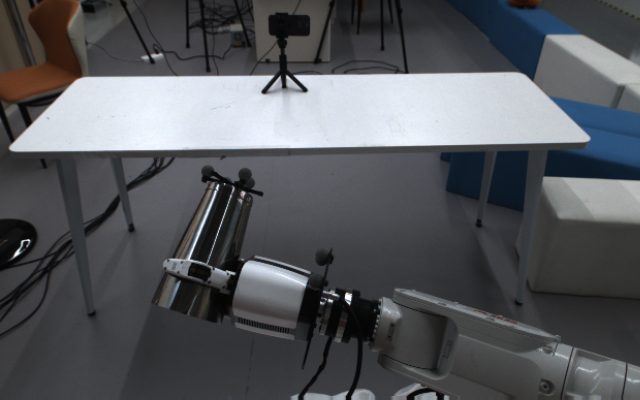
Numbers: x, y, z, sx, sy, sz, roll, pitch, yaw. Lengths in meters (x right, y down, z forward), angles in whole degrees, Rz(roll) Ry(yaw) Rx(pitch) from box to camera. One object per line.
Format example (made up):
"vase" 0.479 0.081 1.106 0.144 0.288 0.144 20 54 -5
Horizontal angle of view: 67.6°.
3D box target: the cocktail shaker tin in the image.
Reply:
"cocktail shaker tin" -0.147 0.066 0.636 0.093 0.093 0.170 13 74 15
